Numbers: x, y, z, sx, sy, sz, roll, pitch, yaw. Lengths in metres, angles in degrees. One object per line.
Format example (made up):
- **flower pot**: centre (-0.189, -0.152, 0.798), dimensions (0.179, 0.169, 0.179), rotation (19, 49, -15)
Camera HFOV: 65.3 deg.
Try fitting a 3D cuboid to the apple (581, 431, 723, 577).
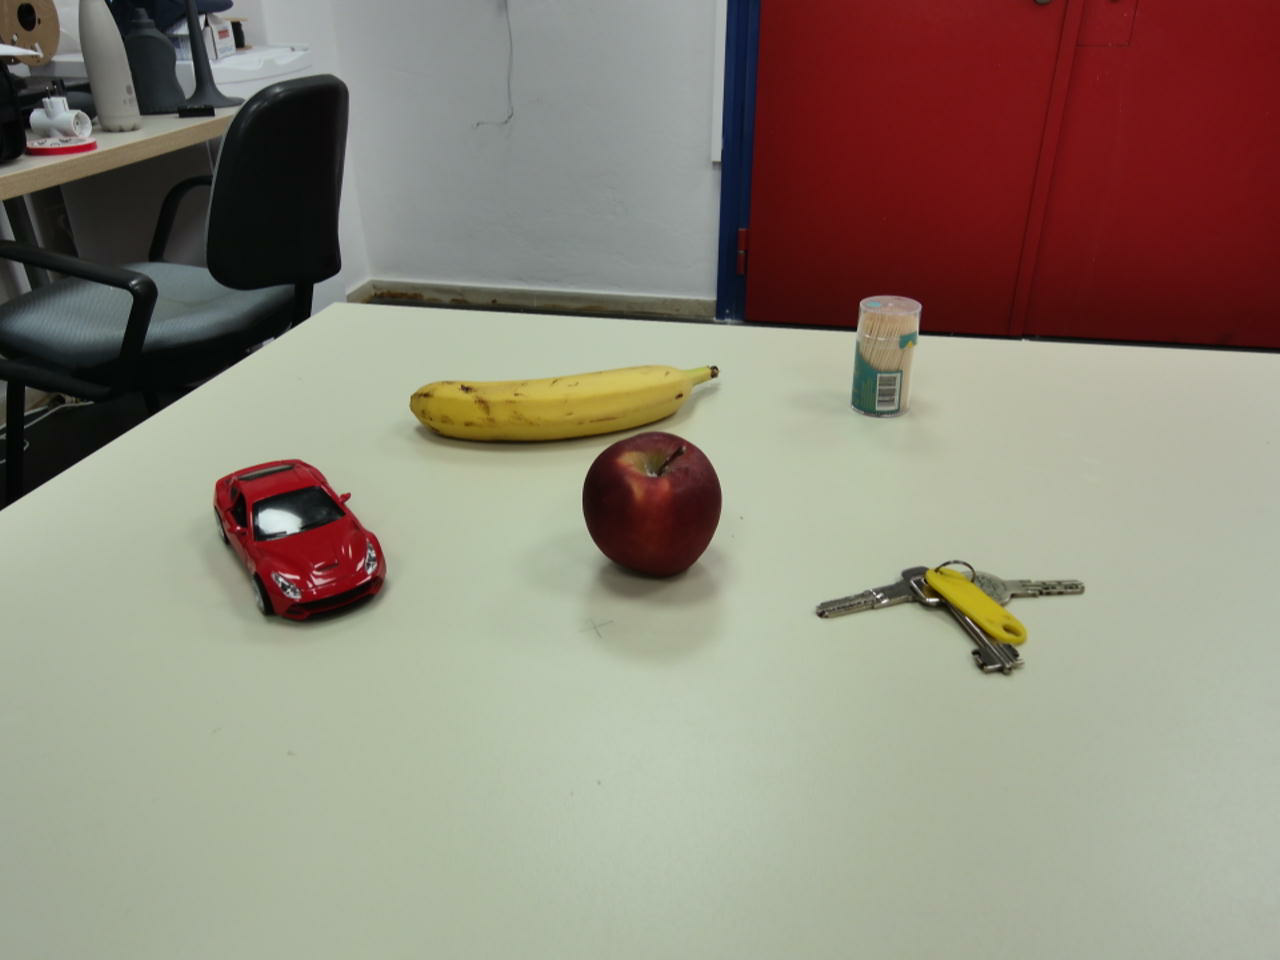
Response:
- **apple**: centre (0.007, 0.012, 0.494), dimensions (0.070, 0.072, 0.070), rotation (1, 25, 0)
